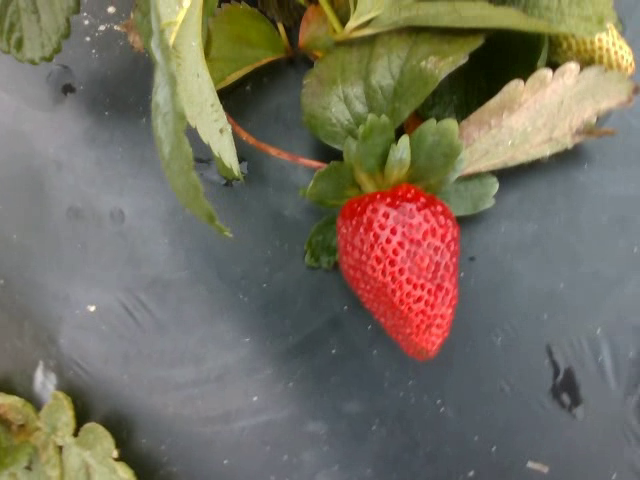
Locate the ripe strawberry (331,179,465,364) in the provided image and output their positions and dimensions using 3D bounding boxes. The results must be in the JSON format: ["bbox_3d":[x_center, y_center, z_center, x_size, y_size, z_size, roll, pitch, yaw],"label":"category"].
[{"bbox_3d":[0.025,0.011,0.201,0.048,0.064,0.046,3,-30,-22],"label":"ripe strawberry"}]
